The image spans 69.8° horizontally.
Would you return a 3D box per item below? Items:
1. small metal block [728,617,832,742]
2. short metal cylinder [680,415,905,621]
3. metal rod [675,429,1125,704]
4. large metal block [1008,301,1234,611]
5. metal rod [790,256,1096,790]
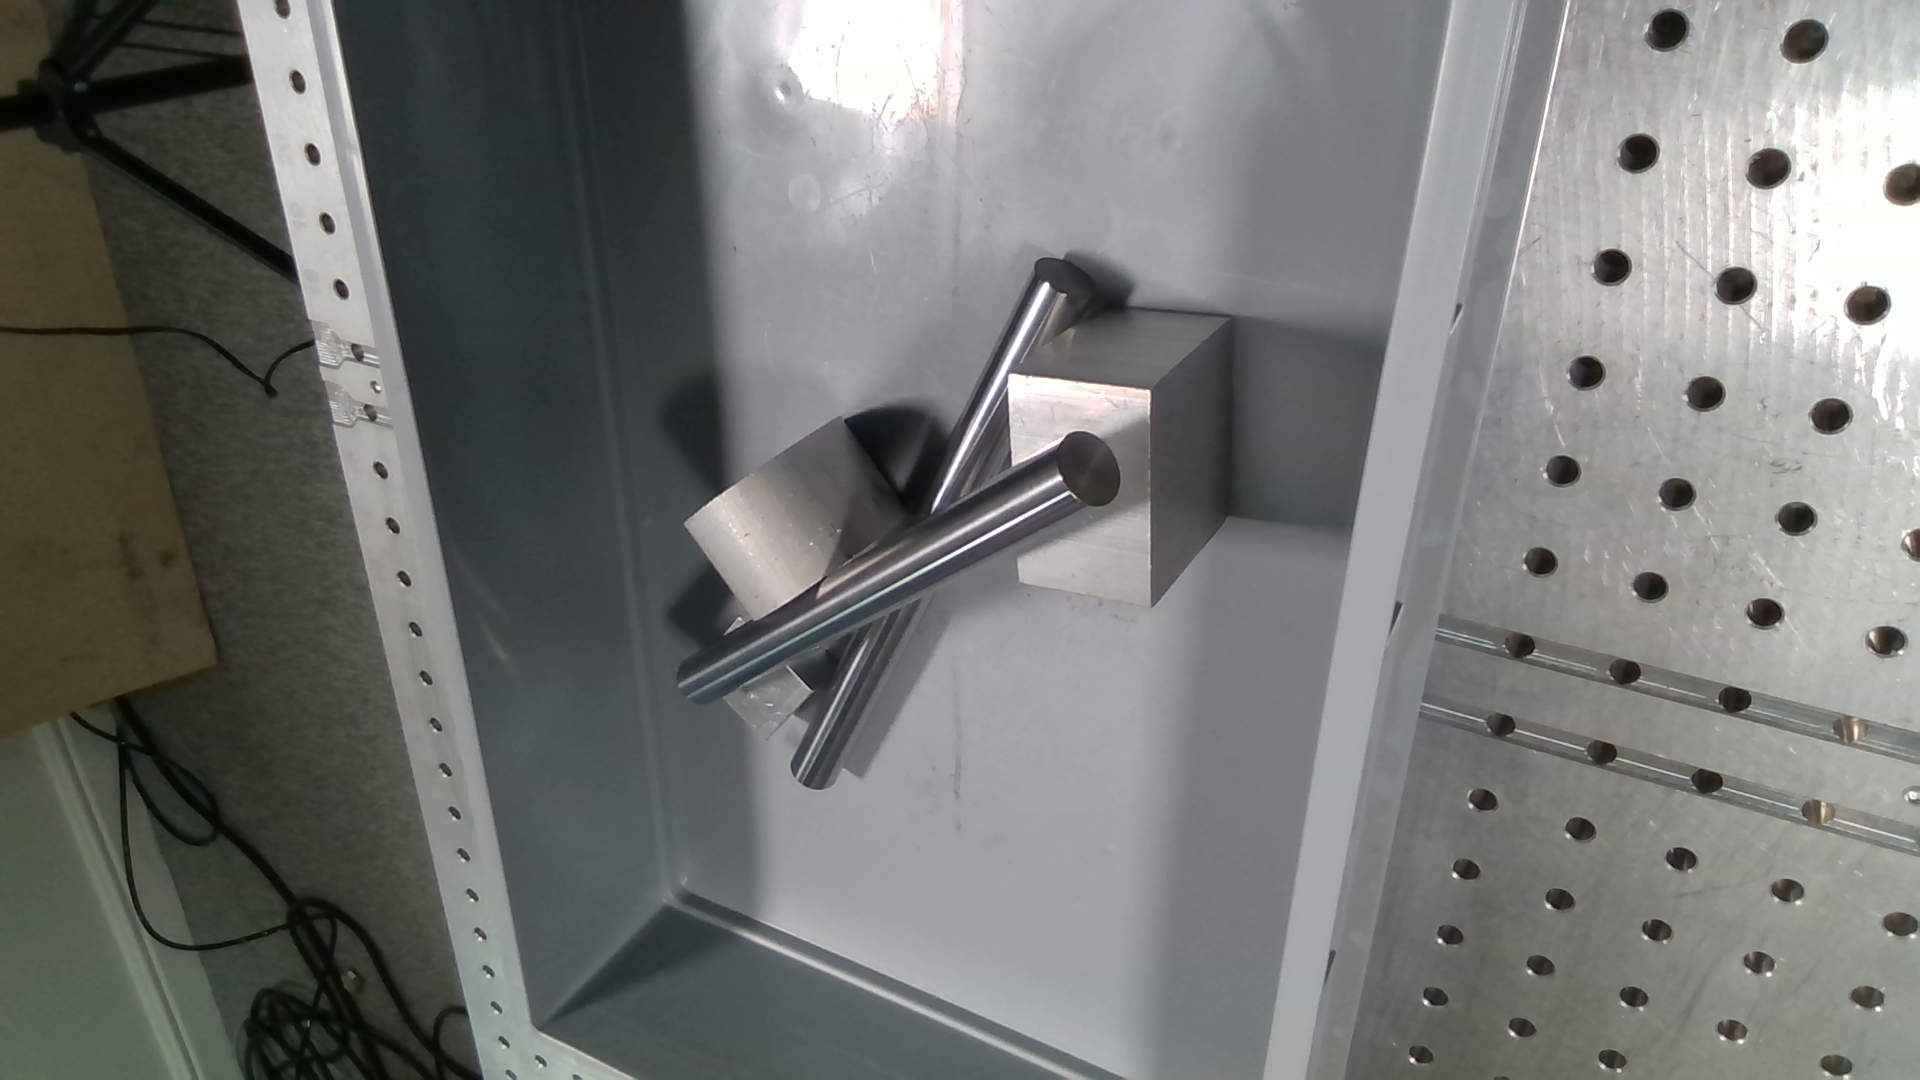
[{"bbox_3d":[-0.095,0.062,0.671,0.050,0.025,0.050,46,129,2],"label":"small metal block"},{"bbox_3d":[-0.070,-0.009,0.580,0.080,0.080,0.050,-30,97,39],"label":"short metal cylinder"},{"bbox_3d":[-0.042,0.022,0.541,0.025,0.025,0.300,55,141,-5],"label":"metal rod"},{"bbox_3d":[0.059,-0.033,0.490,0.050,0.080,0.080,11,120,27],"label":"large metal block"},{"bbox_3d":[-0.017,0.009,0.594,0.025,0.025,0.301,36,128,10],"label":"metal rod"}]
